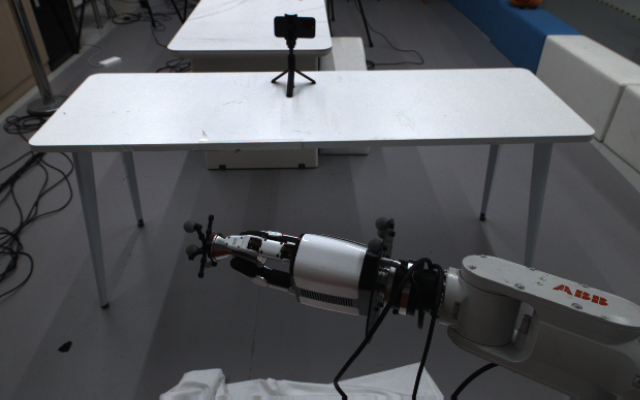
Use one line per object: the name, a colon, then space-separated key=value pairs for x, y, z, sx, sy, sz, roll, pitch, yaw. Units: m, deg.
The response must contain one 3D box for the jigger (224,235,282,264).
jigger: x=-0.102 y=0.063 z=0.667 sx=0.071 sy=0.043 sz=0.043 roll=3 pitch=34 yaw=14
